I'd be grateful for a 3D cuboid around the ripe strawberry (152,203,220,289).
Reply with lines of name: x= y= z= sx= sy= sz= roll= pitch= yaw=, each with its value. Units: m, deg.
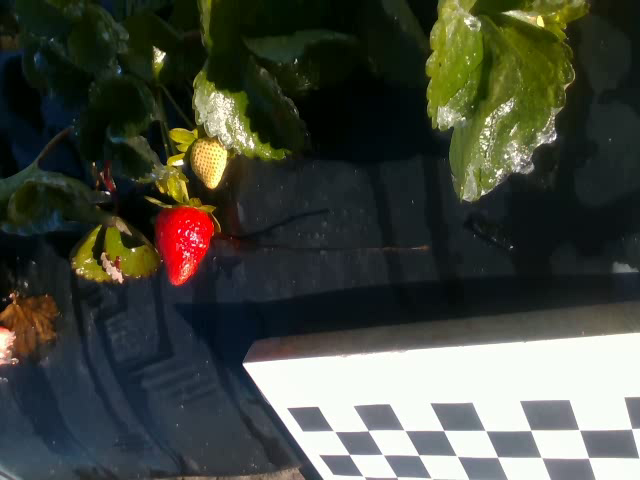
ripe strawberry: x=-0.065 y=0.006 z=0.282 sx=0.039 sy=0.039 sz=0.040 roll=-14 pitch=-33 yaw=43
